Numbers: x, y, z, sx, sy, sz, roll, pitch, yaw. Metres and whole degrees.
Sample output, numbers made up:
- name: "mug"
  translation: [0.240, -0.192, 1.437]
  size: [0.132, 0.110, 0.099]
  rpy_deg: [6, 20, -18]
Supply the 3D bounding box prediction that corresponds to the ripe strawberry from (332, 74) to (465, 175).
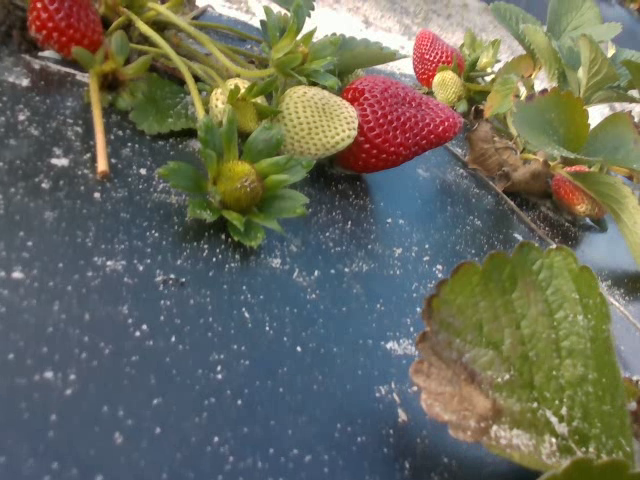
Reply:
- name: "ripe strawberry"
  translation: [0.038, -0.052, 0.270]
  size: [0.055, 0.051, 0.048]
  rpy_deg: [9, -26, 24]
